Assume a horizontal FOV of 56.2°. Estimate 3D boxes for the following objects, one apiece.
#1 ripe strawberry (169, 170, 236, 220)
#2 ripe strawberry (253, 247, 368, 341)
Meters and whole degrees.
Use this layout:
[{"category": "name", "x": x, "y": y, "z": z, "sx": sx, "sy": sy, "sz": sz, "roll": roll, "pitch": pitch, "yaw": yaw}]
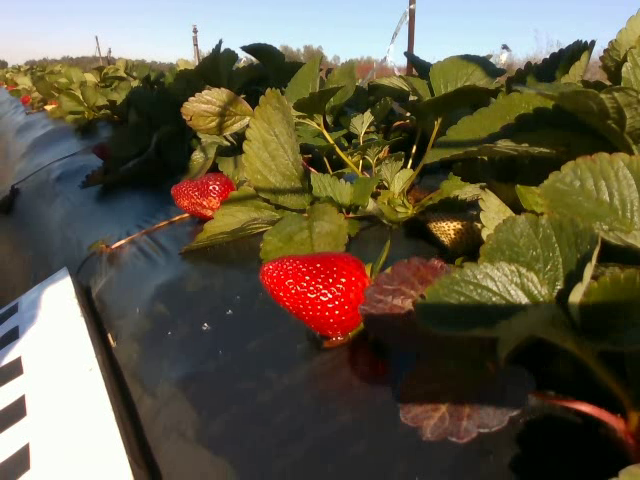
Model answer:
[{"category": "ripe strawberry", "x": -0.083, "y": -0.031, "z": 0.433, "sx": 0.053, "sy": 0.043, "sz": 0.042, "roll": 8, "pitch": 21, "yaw": -23}, {"category": "ripe strawberry", "x": -0.005, "y": 0.021, "z": 0.248, "sx": 0.050, "sy": 0.043, "sz": 0.043, "roll": 19, "pitch": 35, "yaw": -9}]
